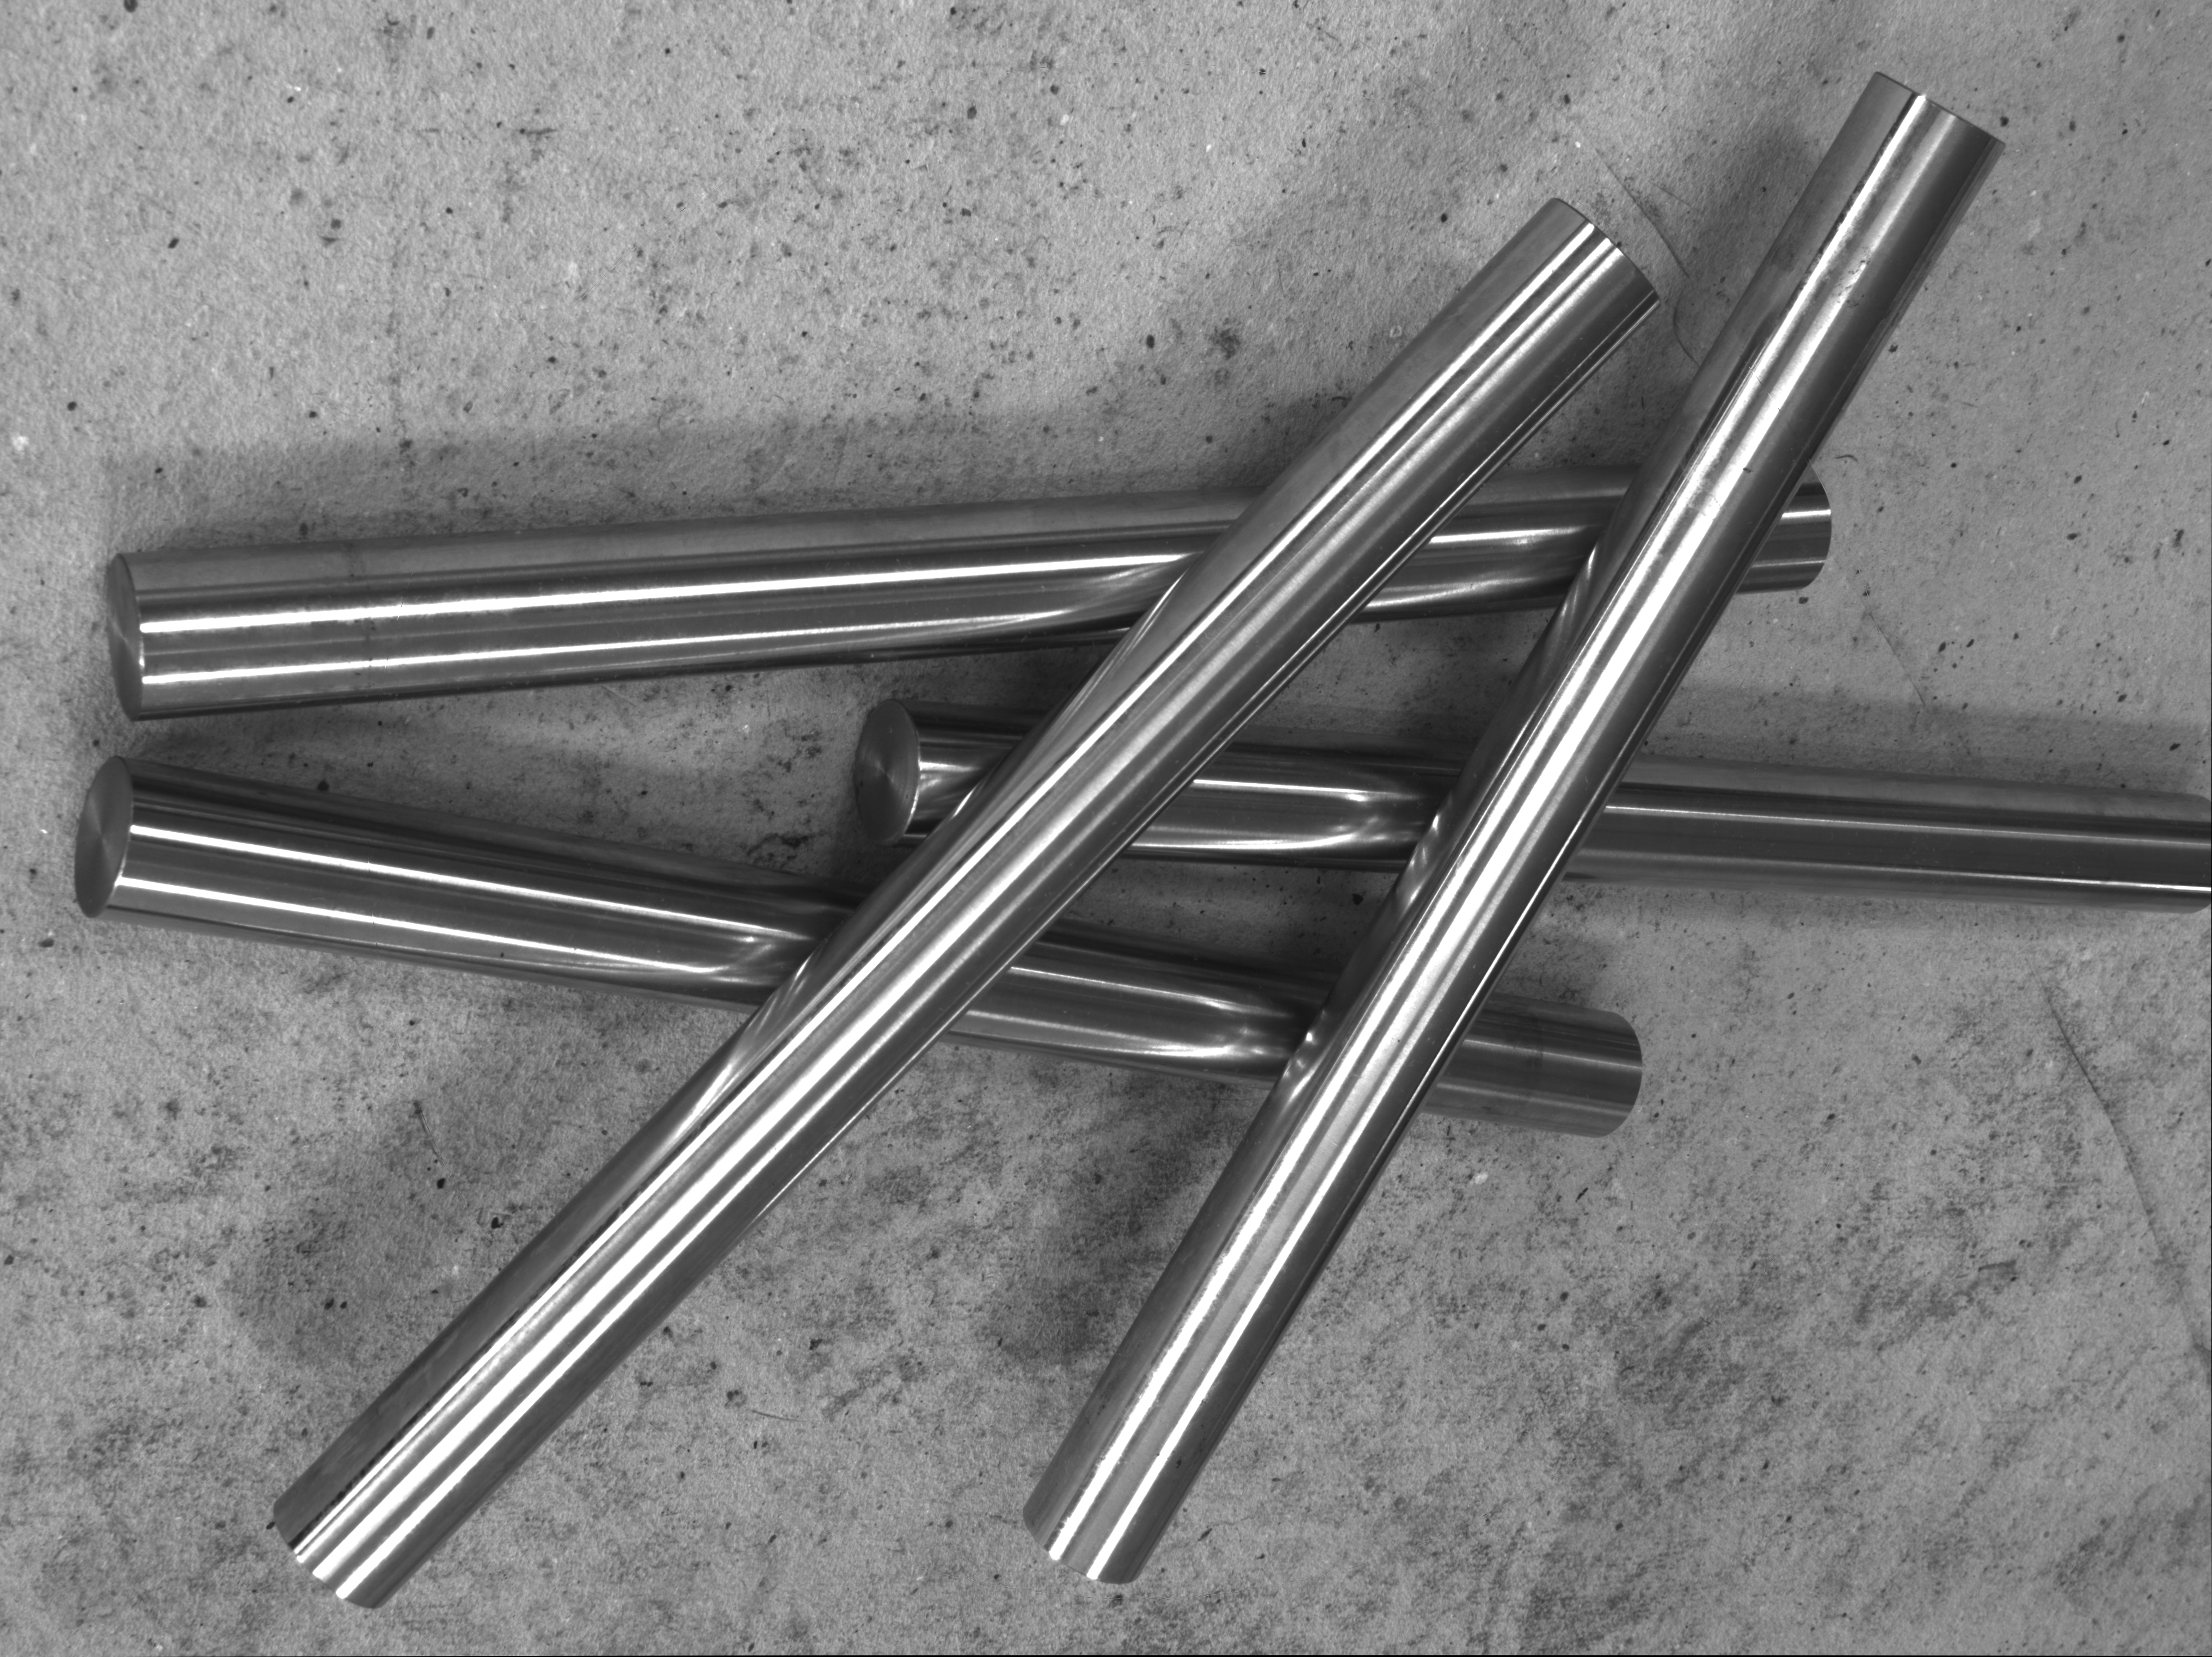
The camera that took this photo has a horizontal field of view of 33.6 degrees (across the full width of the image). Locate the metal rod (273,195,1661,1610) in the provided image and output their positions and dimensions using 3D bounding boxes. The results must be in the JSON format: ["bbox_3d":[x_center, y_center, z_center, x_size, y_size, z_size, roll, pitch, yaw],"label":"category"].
[{"bbox_3d":[-0.024,0.014,0.601,0.300,0.025,0.025,-46,129,3],"label":"metal rod"}]

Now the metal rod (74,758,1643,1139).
[{"bbox_3d":[-0.028,0.025,0.638,0.301,0.025,0.025,11,113,-33],"label":"metal rod"}]

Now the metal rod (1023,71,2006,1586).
[{"bbox_3d":[0.067,0.007,0.646,0.025,0.025,0.300,19,108,-35],"label":"metal rod"}]

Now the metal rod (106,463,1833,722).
[{"bbox_3d":[-0.010,-0.042,0.606,0.301,0.025,0.025,-6,121,-25],"label":"metal rod"}]

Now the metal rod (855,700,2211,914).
[{"bbox_3d":[0.094,-0.002,0.687,0.301,0.025,0.025,3,117,-30],"label":"metal rod"}]
